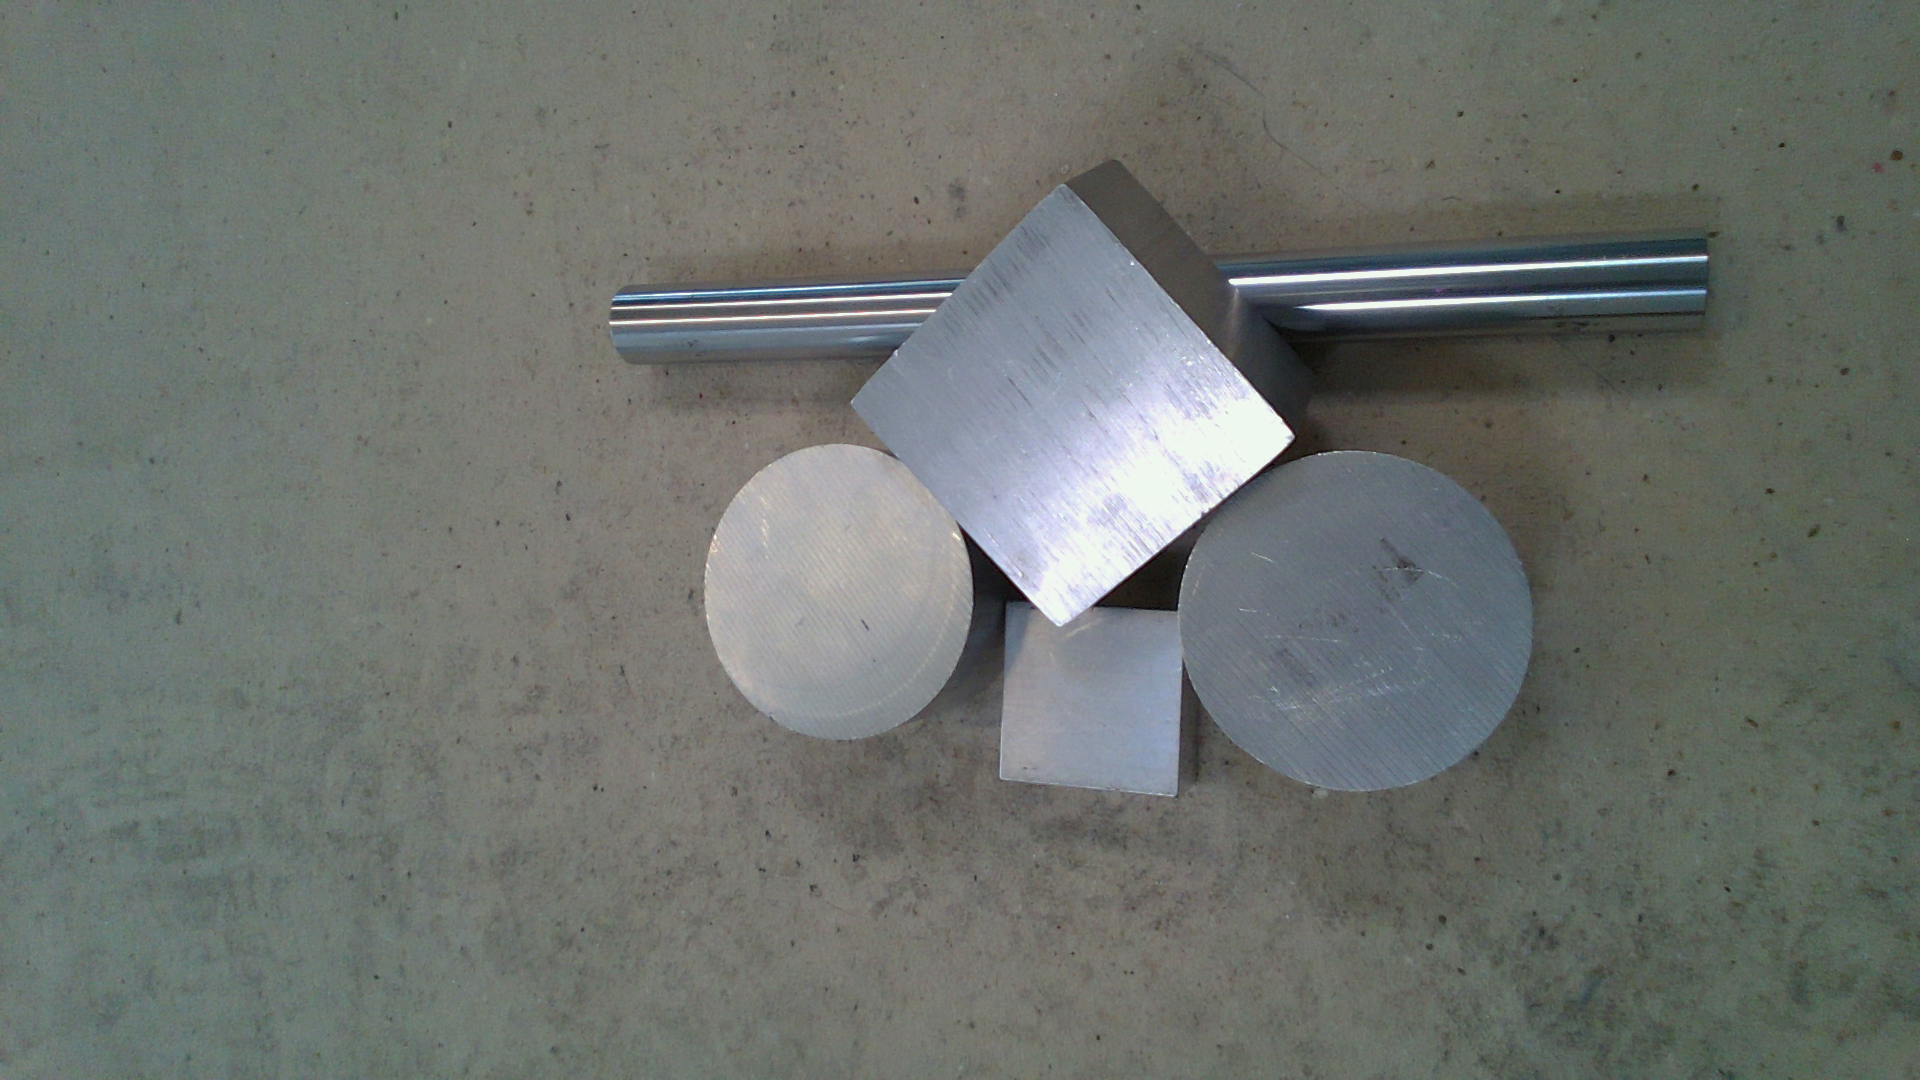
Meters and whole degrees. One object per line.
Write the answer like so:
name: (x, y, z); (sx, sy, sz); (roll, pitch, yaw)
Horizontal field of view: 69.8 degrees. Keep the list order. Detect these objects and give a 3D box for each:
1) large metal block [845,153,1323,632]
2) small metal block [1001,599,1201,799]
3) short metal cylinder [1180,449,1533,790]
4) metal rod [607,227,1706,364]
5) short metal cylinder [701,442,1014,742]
large metal block: (0.032, -0.038, 0.352); (0.080, 0.050, 0.080); (47, 119, -3)
small metal block: (0.040, 0.042, 0.382); (0.050, 0.025, 0.050); (2, 91, 20)
short metal cylinder: (0.100, 0.019, 0.346); (0.080, 0.050, 0.080); (0, 90, 20)
metal rod: (0.037, -0.065, 0.382); (0.299, 0.025, 0.025); (1, 90, 20)
short metal cylinder: (-0.026, 0.014, 0.391); (0.080, 0.050, 0.080); (0, 90, 20)
